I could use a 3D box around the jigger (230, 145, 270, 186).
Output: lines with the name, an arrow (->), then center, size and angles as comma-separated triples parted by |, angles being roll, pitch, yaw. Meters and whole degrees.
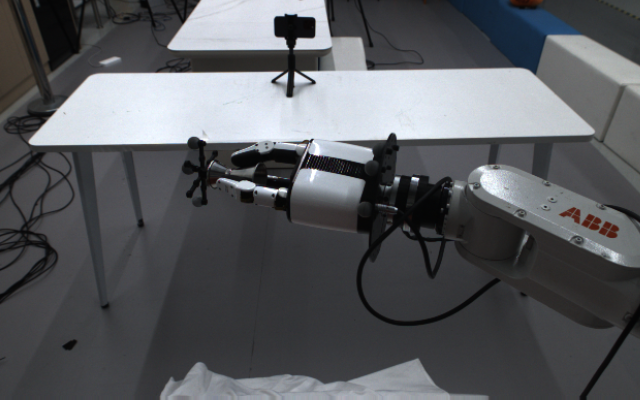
jigger -> -0.106, -0.034, 0.638 | 0.071, 0.043, 0.043 | 6, 34, 16
